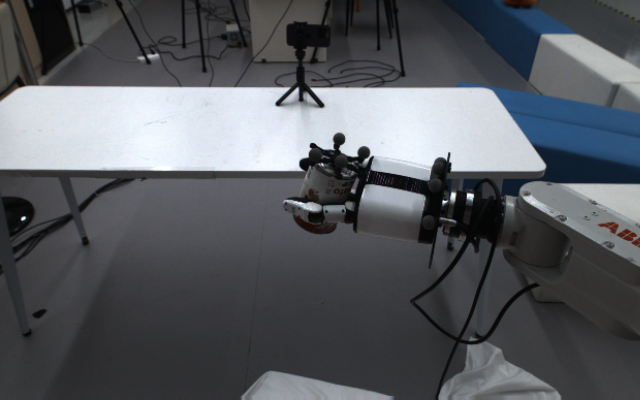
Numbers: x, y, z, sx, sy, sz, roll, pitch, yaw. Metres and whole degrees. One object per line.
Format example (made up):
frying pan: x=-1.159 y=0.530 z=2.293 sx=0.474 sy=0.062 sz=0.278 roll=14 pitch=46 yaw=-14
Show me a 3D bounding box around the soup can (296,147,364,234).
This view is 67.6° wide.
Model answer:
soup can: x=0.008 y=-0.011 z=0.679 sx=0.067 sy=0.101 sz=0.067 roll=14 pitch=35 yaw=-10
